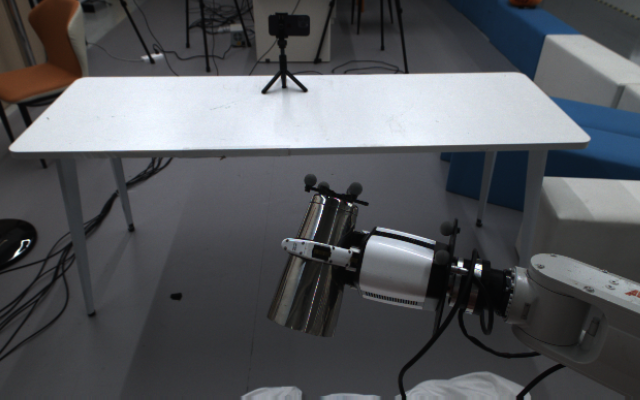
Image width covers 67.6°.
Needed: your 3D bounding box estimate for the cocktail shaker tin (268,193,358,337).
[{"bbox_3d":[-0.003,0.083,0.641,0.093,0.170,0.093,16,-6,2],"label":"cocktail shaker tin"}]
